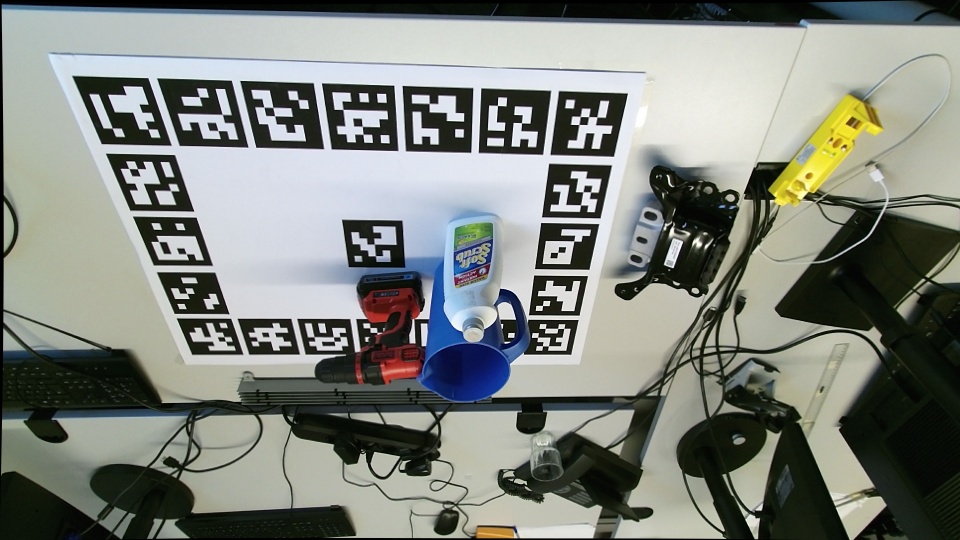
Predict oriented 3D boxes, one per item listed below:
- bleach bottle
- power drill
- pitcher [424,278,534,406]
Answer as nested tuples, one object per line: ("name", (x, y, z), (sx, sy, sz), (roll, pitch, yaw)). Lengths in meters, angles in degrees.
("bleach bottle", (0.004, 0.034, 0.815), (0.103, 0.249, 0.068), (-7, 125, 0))
("power drill", (-0.181, 0.115, 0.899), (0.185, 0.186, 0.057), (-1, 123, 4))
("pitcher", (-0.011, 0.105, 0.890), (0.189, 0.241, 0.133), (-22, 122, 12))
